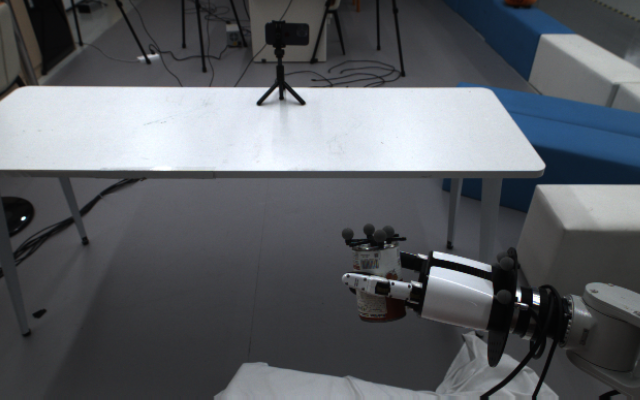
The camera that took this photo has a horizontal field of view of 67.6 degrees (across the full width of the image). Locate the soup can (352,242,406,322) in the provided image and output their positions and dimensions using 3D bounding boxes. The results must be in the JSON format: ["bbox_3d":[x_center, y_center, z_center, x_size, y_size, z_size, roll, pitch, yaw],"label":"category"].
[{"bbox_3d":[0.084,0.111,0.673,0.067,0.101,0.067,-6,3,0],"label":"soup can"}]
